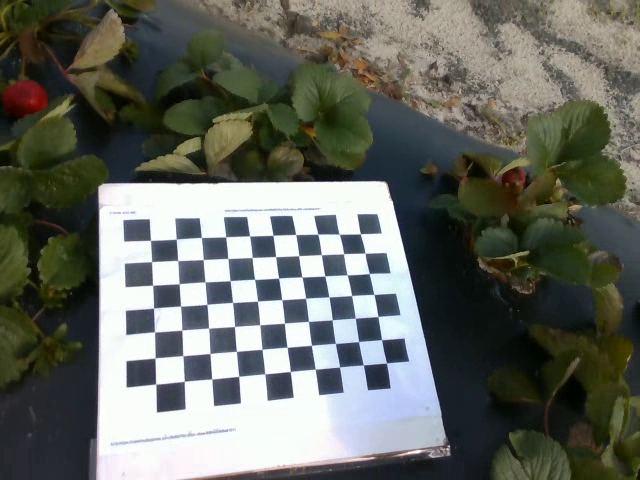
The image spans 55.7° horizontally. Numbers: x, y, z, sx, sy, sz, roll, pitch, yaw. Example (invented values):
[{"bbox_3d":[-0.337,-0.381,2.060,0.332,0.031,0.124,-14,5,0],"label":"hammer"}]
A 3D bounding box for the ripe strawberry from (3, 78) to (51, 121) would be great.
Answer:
[{"bbox_3d":[-0.344,-0.169,0.699,0.057,0.051,0.064,-21,36,-28],"label":"ripe strawberry"}]
